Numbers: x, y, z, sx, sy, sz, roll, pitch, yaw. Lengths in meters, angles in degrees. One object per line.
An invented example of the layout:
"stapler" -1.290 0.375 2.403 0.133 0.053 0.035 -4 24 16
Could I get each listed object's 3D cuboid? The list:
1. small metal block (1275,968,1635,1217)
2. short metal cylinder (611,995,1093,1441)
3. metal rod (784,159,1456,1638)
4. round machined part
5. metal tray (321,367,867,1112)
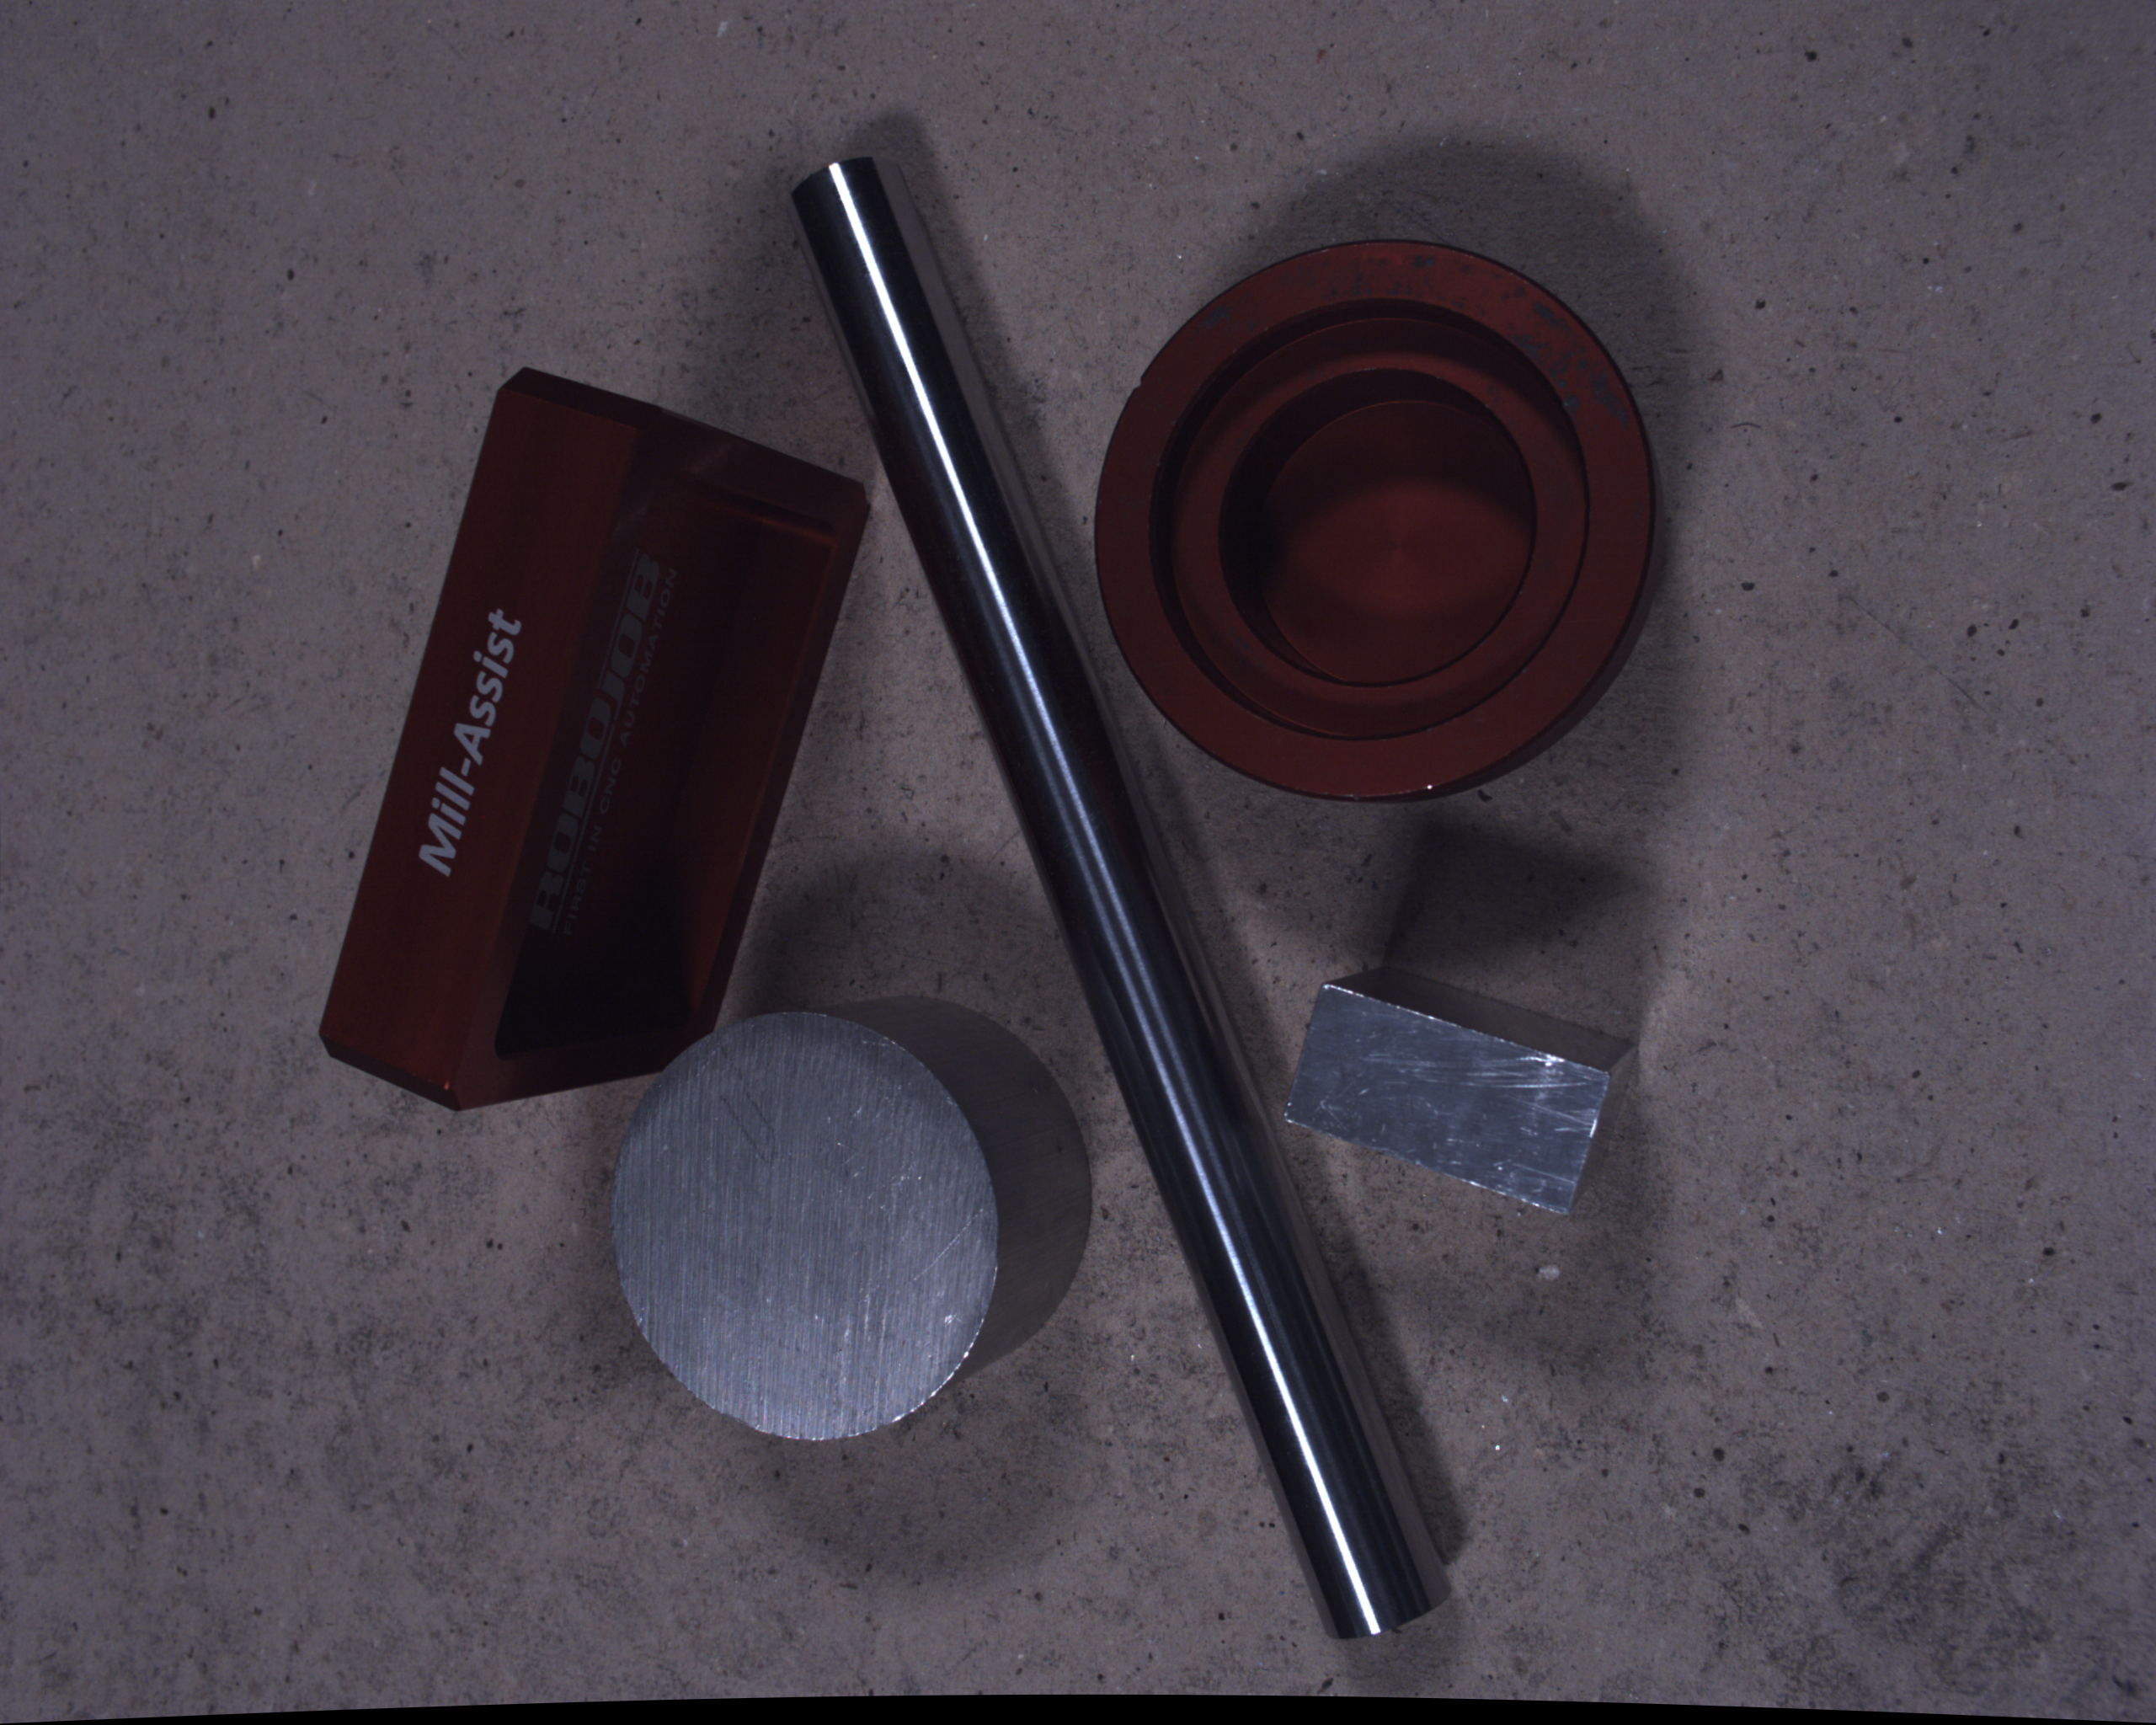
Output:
"small metal block" 0.068 0.039 0.369 0.050 0.050 0.025 18 96 19
"short metal cylinder" -0.043 0.067 0.411 0.080 0.050 0.079 0 90 19
"metal rod" 0.005 0.001 0.408 0.025 0.025 0.299 -23 82 18
"round machined part" 0.056 -0.060 0.381 0.098 0.042 0.097 0 90 19
"metal tray" -0.090 -0.022 0.406 0.030 0.090 0.129 20 96 19
